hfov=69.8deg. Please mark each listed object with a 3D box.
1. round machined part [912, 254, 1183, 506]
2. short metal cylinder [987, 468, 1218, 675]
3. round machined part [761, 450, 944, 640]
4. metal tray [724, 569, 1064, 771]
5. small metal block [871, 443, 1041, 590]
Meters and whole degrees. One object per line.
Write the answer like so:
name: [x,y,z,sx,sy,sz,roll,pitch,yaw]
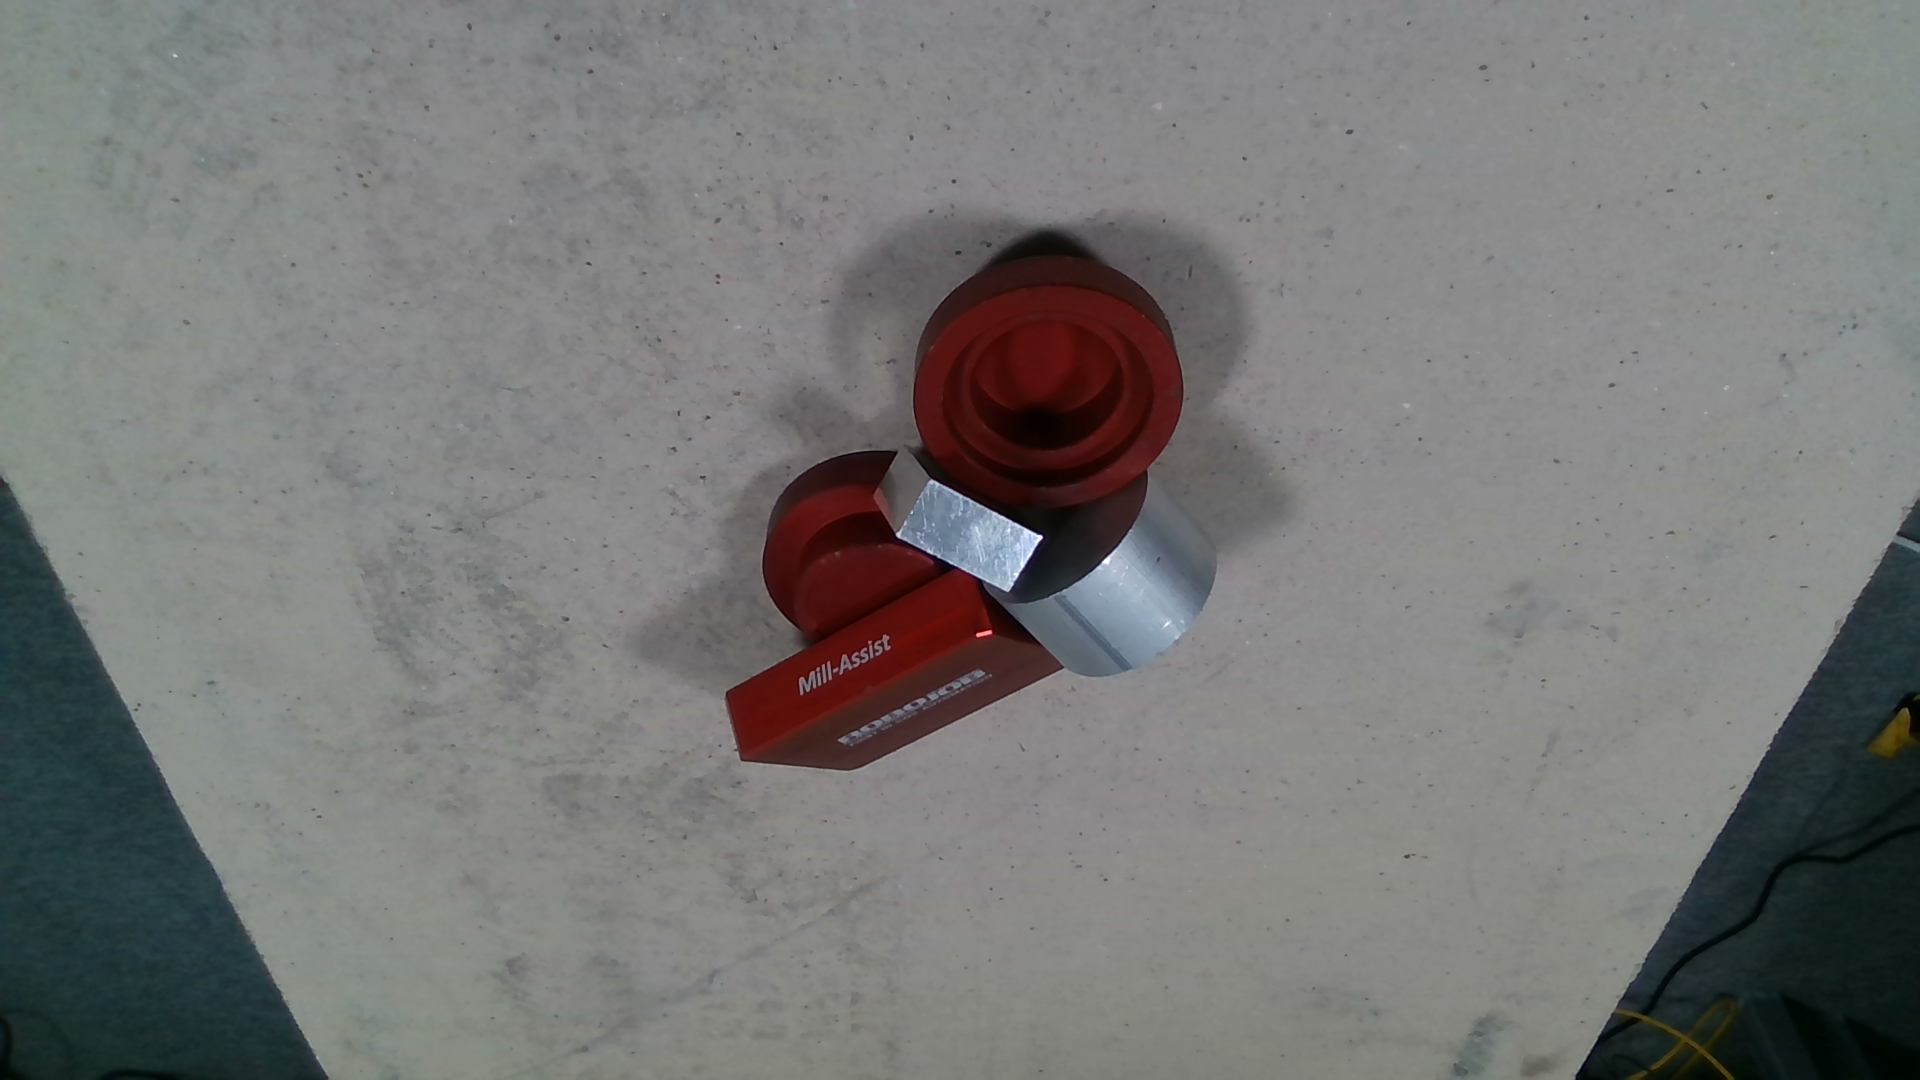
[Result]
round machined part: [0.032,-0.063,0.515,0.098,0.042,0.098,0,130,0]
short metal cylinder: [0.055,0.007,0.550,0.080,0.080,0.050,-31,124,23]
round machined part: [-0.035,0.014,0.580,0.098,0.042,0.098,0,130,0]
metal tray: [-0.025,0.060,0.598,0.130,0.030,0.090,-28,156,22]
small metal block: [-0.003,-0.010,0.531,0.050,0.050,0.025,27,101,-21]
